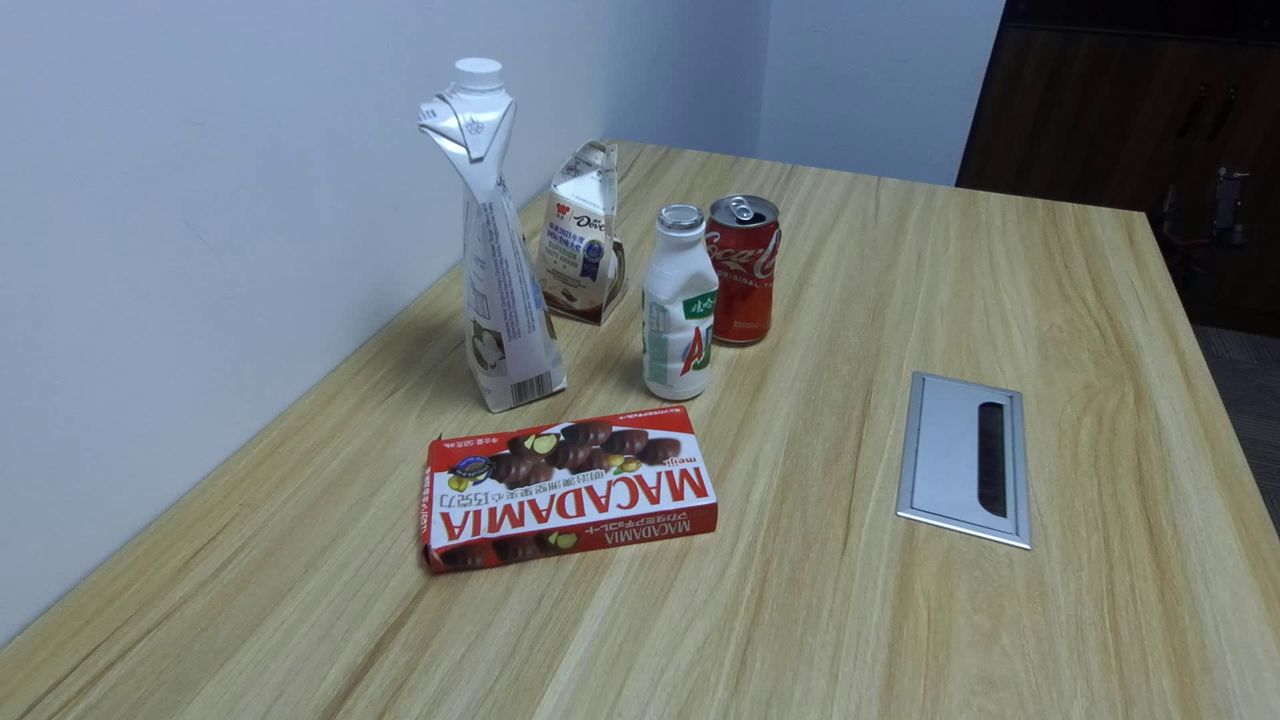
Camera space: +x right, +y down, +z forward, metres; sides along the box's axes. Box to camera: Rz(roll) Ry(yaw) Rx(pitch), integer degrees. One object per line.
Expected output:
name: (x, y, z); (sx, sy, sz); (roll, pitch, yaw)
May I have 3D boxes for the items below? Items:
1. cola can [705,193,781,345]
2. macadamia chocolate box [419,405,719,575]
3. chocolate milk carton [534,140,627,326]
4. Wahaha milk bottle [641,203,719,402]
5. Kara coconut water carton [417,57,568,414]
cola can: (0.082, -0.076, 0.592); (0.066, 0.117, 0.066); (9, 39, 13)
macadamia chocolate box: (-0.048, 0.080, 0.462); (0.183, 0.028, 0.105); (-8, 37, -7)
chocolate milk carton: (-0.047, -0.118, 0.623); (0.076, 0.155, 0.089); (13, 25, 11)
Wahaha milk bottle: (0.029, -0.039, 0.513); (0.056, 0.148, 0.056); (1, 37, 0)
Kara coconut water carton: (-0.102, -0.080, 0.496); (0.069, 0.239, 0.114); (-17, 37, -17)
